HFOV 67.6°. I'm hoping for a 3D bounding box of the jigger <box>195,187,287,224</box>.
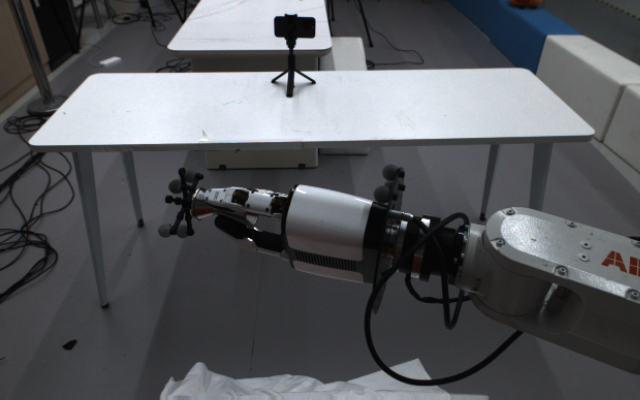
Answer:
[{"bbox_3d":[-0.104,0.005,0.566,0.071,0.043,0.043,5,35,13],"label":"jigger"}]
